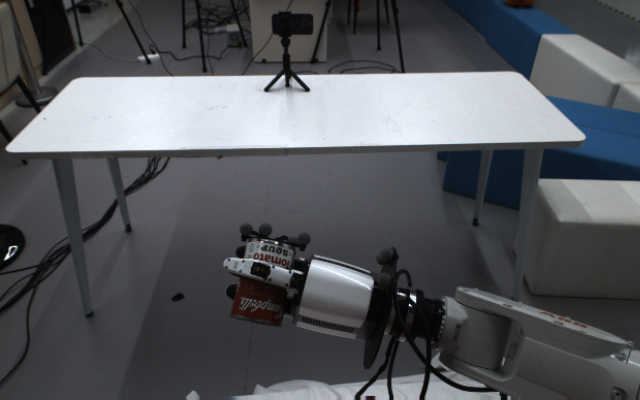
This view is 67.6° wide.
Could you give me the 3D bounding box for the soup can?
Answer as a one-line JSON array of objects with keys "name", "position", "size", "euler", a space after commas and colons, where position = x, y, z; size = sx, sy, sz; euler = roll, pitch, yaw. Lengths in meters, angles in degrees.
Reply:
[{"name": "soup can", "position": [-0.072, 0.108, 0.625], "size": [0.067, 0.067, 0.101], "euler": [8, 72, 9]}]
